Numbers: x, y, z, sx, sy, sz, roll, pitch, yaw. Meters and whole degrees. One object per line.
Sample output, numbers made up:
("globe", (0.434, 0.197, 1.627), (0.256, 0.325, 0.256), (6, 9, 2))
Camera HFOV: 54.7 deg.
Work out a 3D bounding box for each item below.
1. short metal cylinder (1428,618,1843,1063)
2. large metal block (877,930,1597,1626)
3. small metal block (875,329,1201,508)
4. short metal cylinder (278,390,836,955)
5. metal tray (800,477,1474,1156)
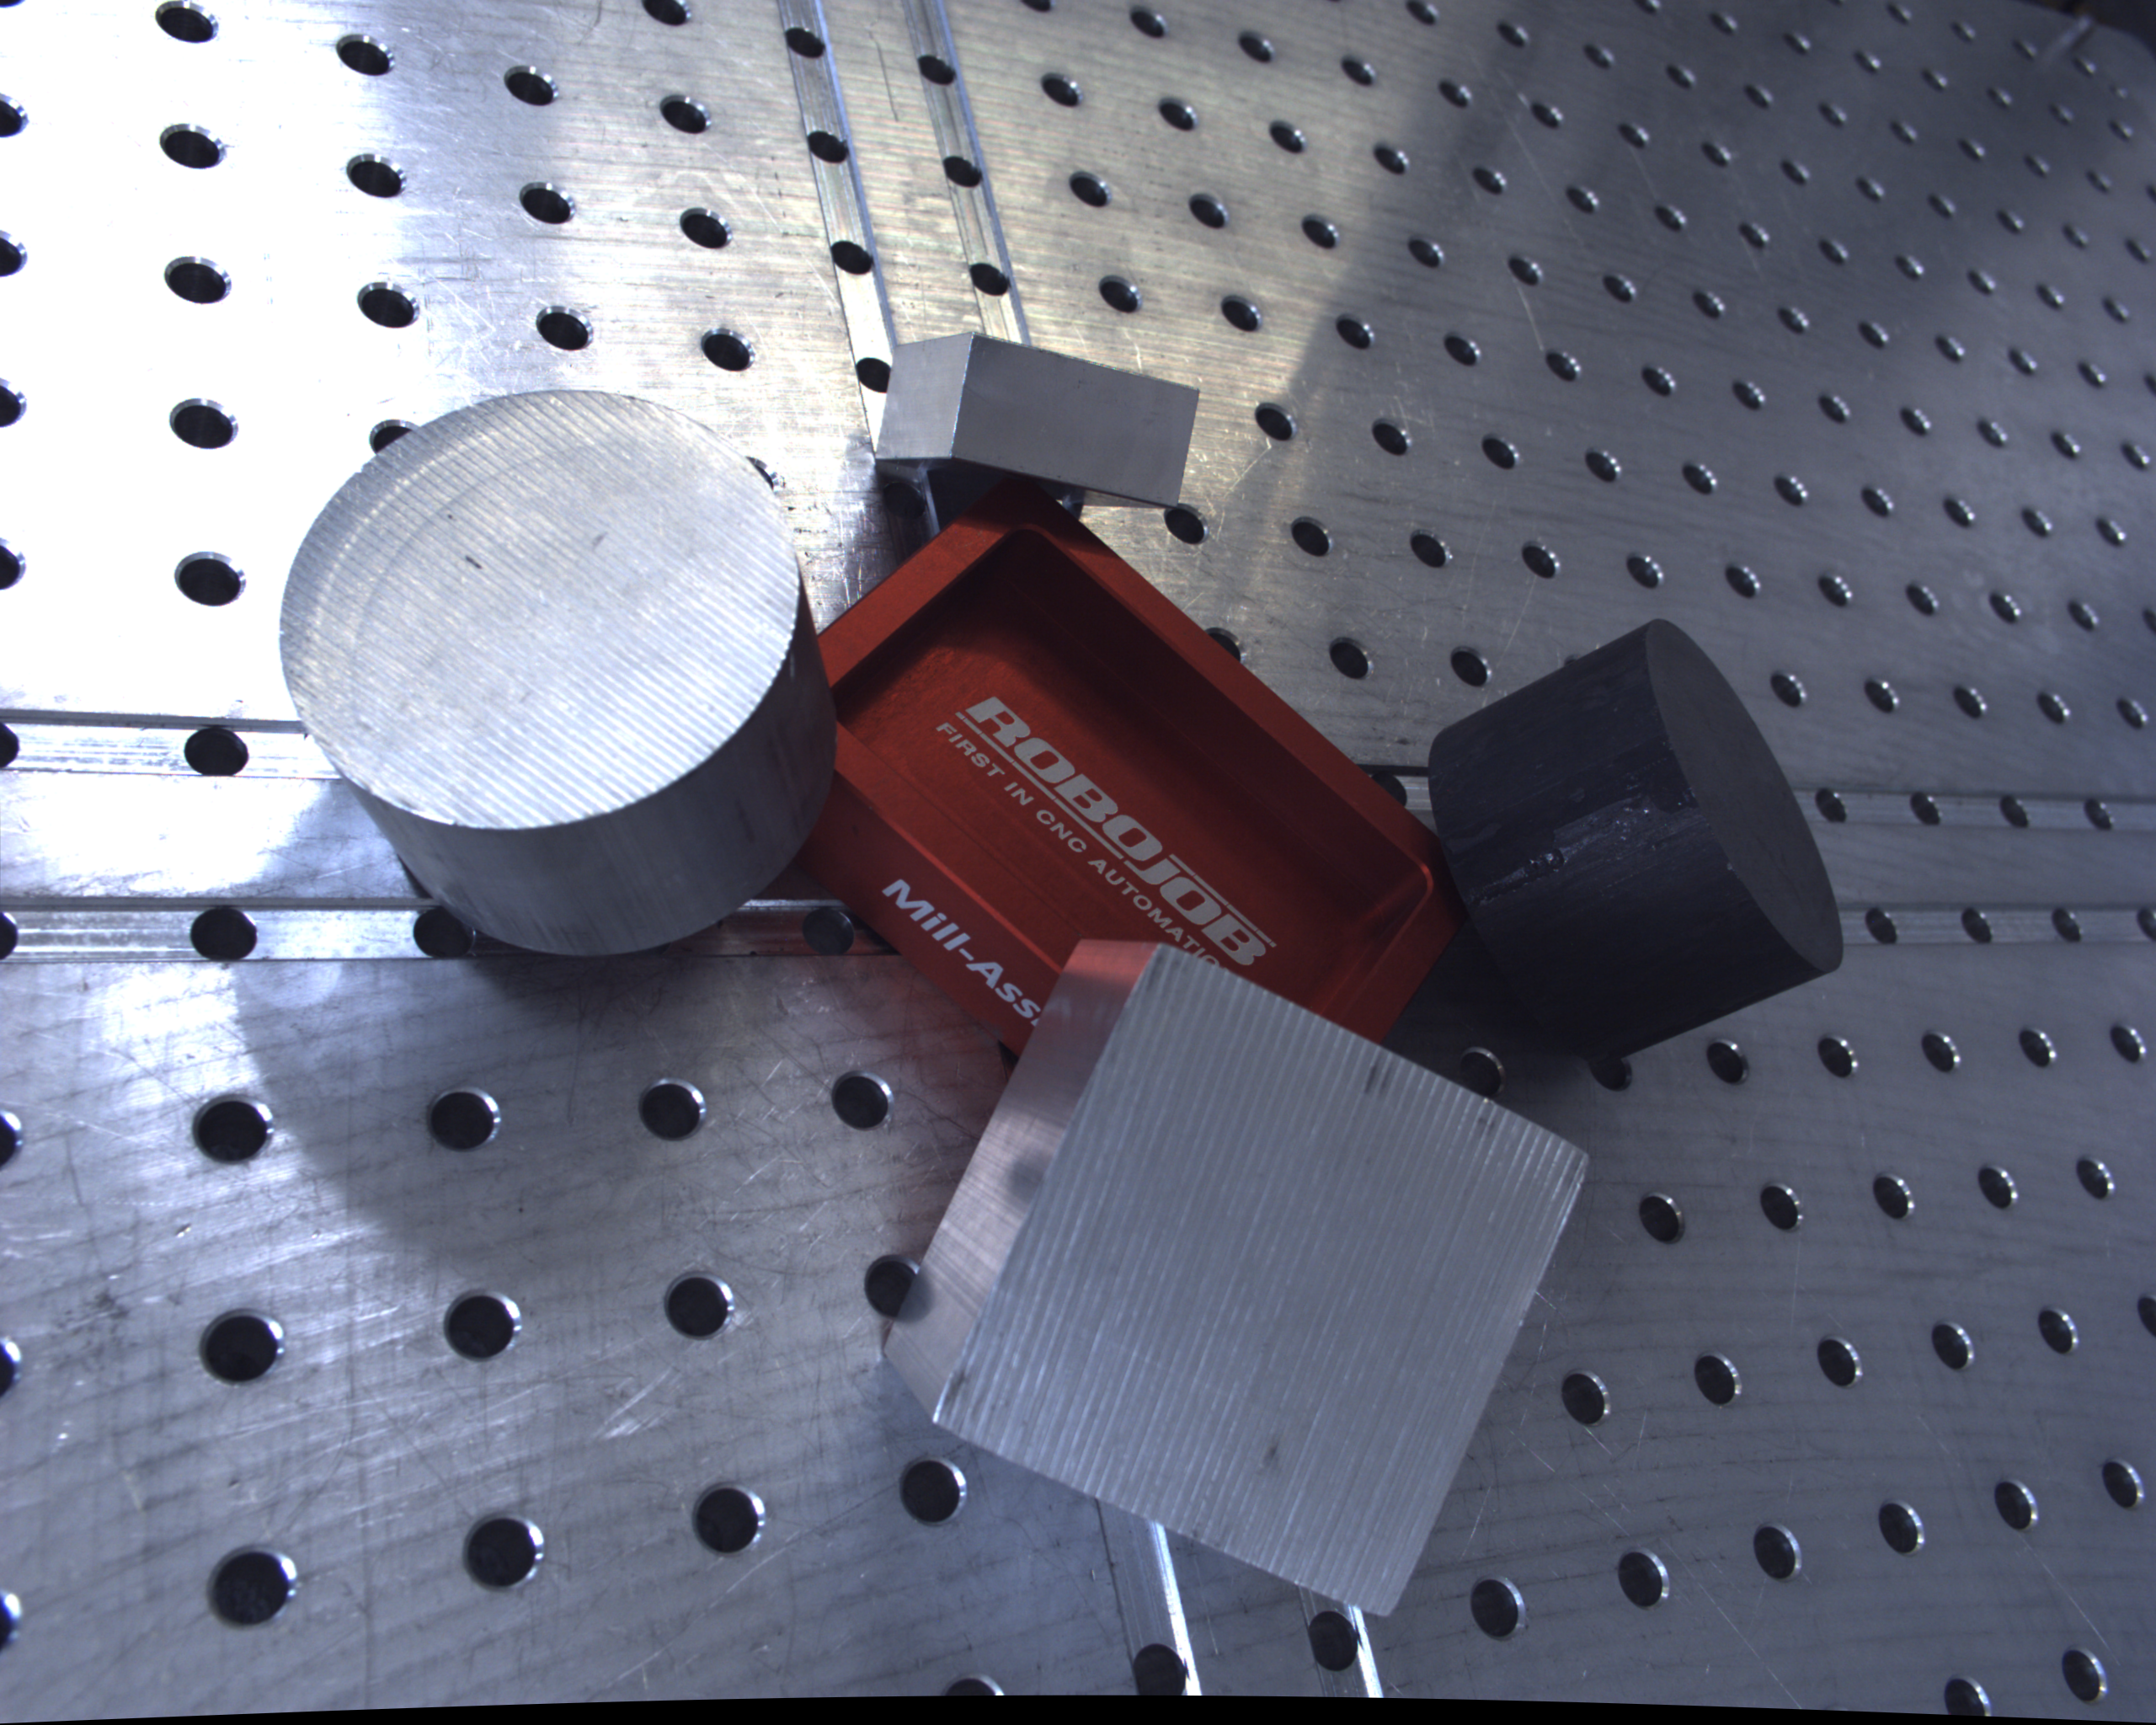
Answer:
("short metal cylinder", (0.117, -0.004, 0.438), (0.080, 0.050, 0.080), (38, 37, -35))
("large metal block", (0.024, 0.065, 0.343), (0.080, 0.050, 0.080), (28, 83, -11))
("small metal block", (-0.010, -0.093, 0.440), (0.050, 0.050, 0.025), (8, 96, -24))
("short metal cylinder", (-0.083, -0.031, 0.347), (0.081, 0.050, 0.080), (0, 65, 0))
("metal tray", (0.007, -0.007, 0.412), (0.130, 0.030, 0.090), (41, 51, 0))
